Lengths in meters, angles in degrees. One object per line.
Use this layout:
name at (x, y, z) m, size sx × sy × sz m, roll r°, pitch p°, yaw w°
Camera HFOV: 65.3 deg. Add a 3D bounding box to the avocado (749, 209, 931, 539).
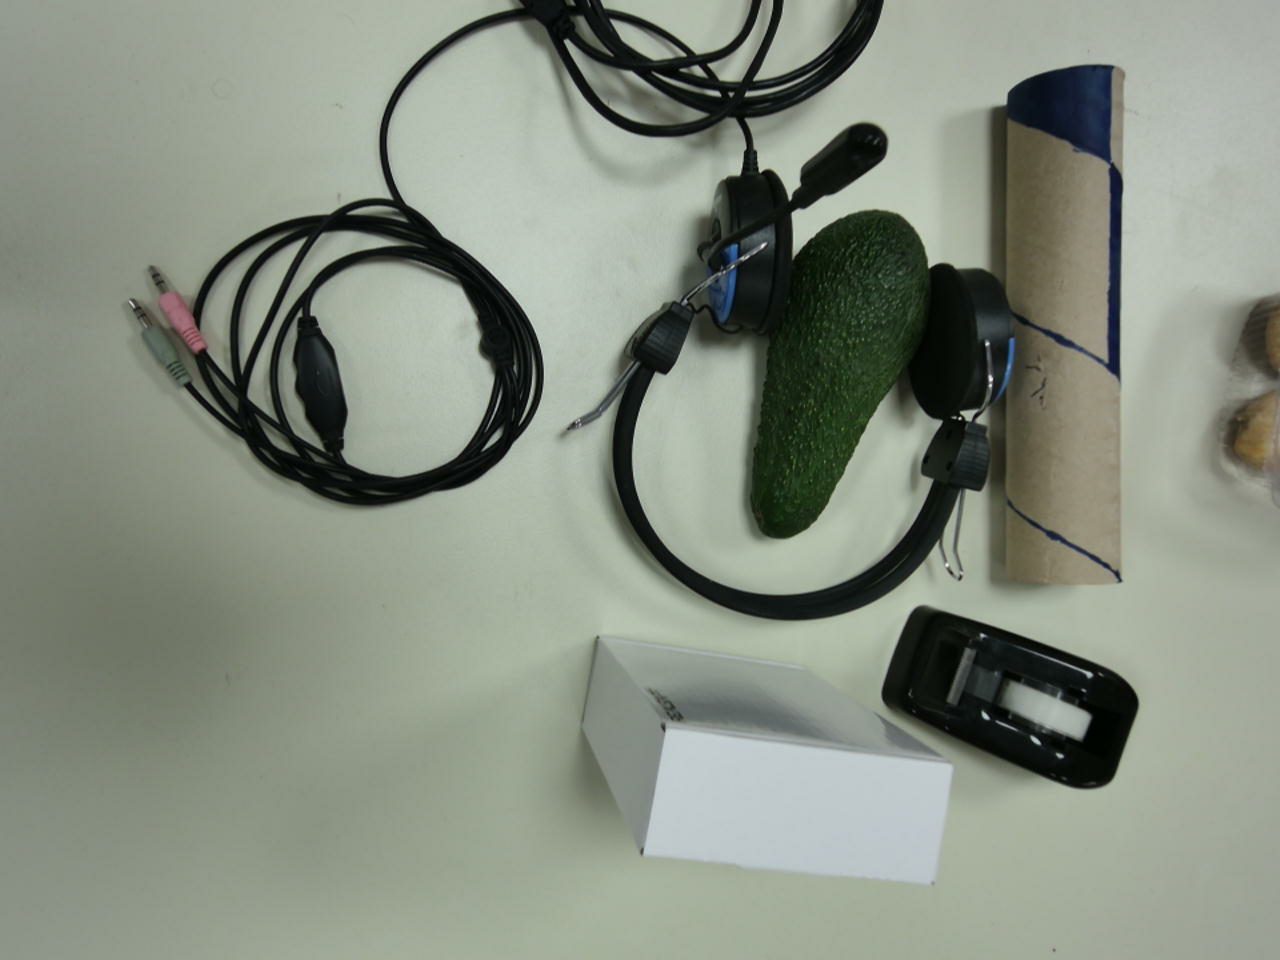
avocado at (0.085, -0.042, 0.415) m, size 0.063 × 0.067 × 0.141 m, roll 6°, pitch 90°, yaw -11°
